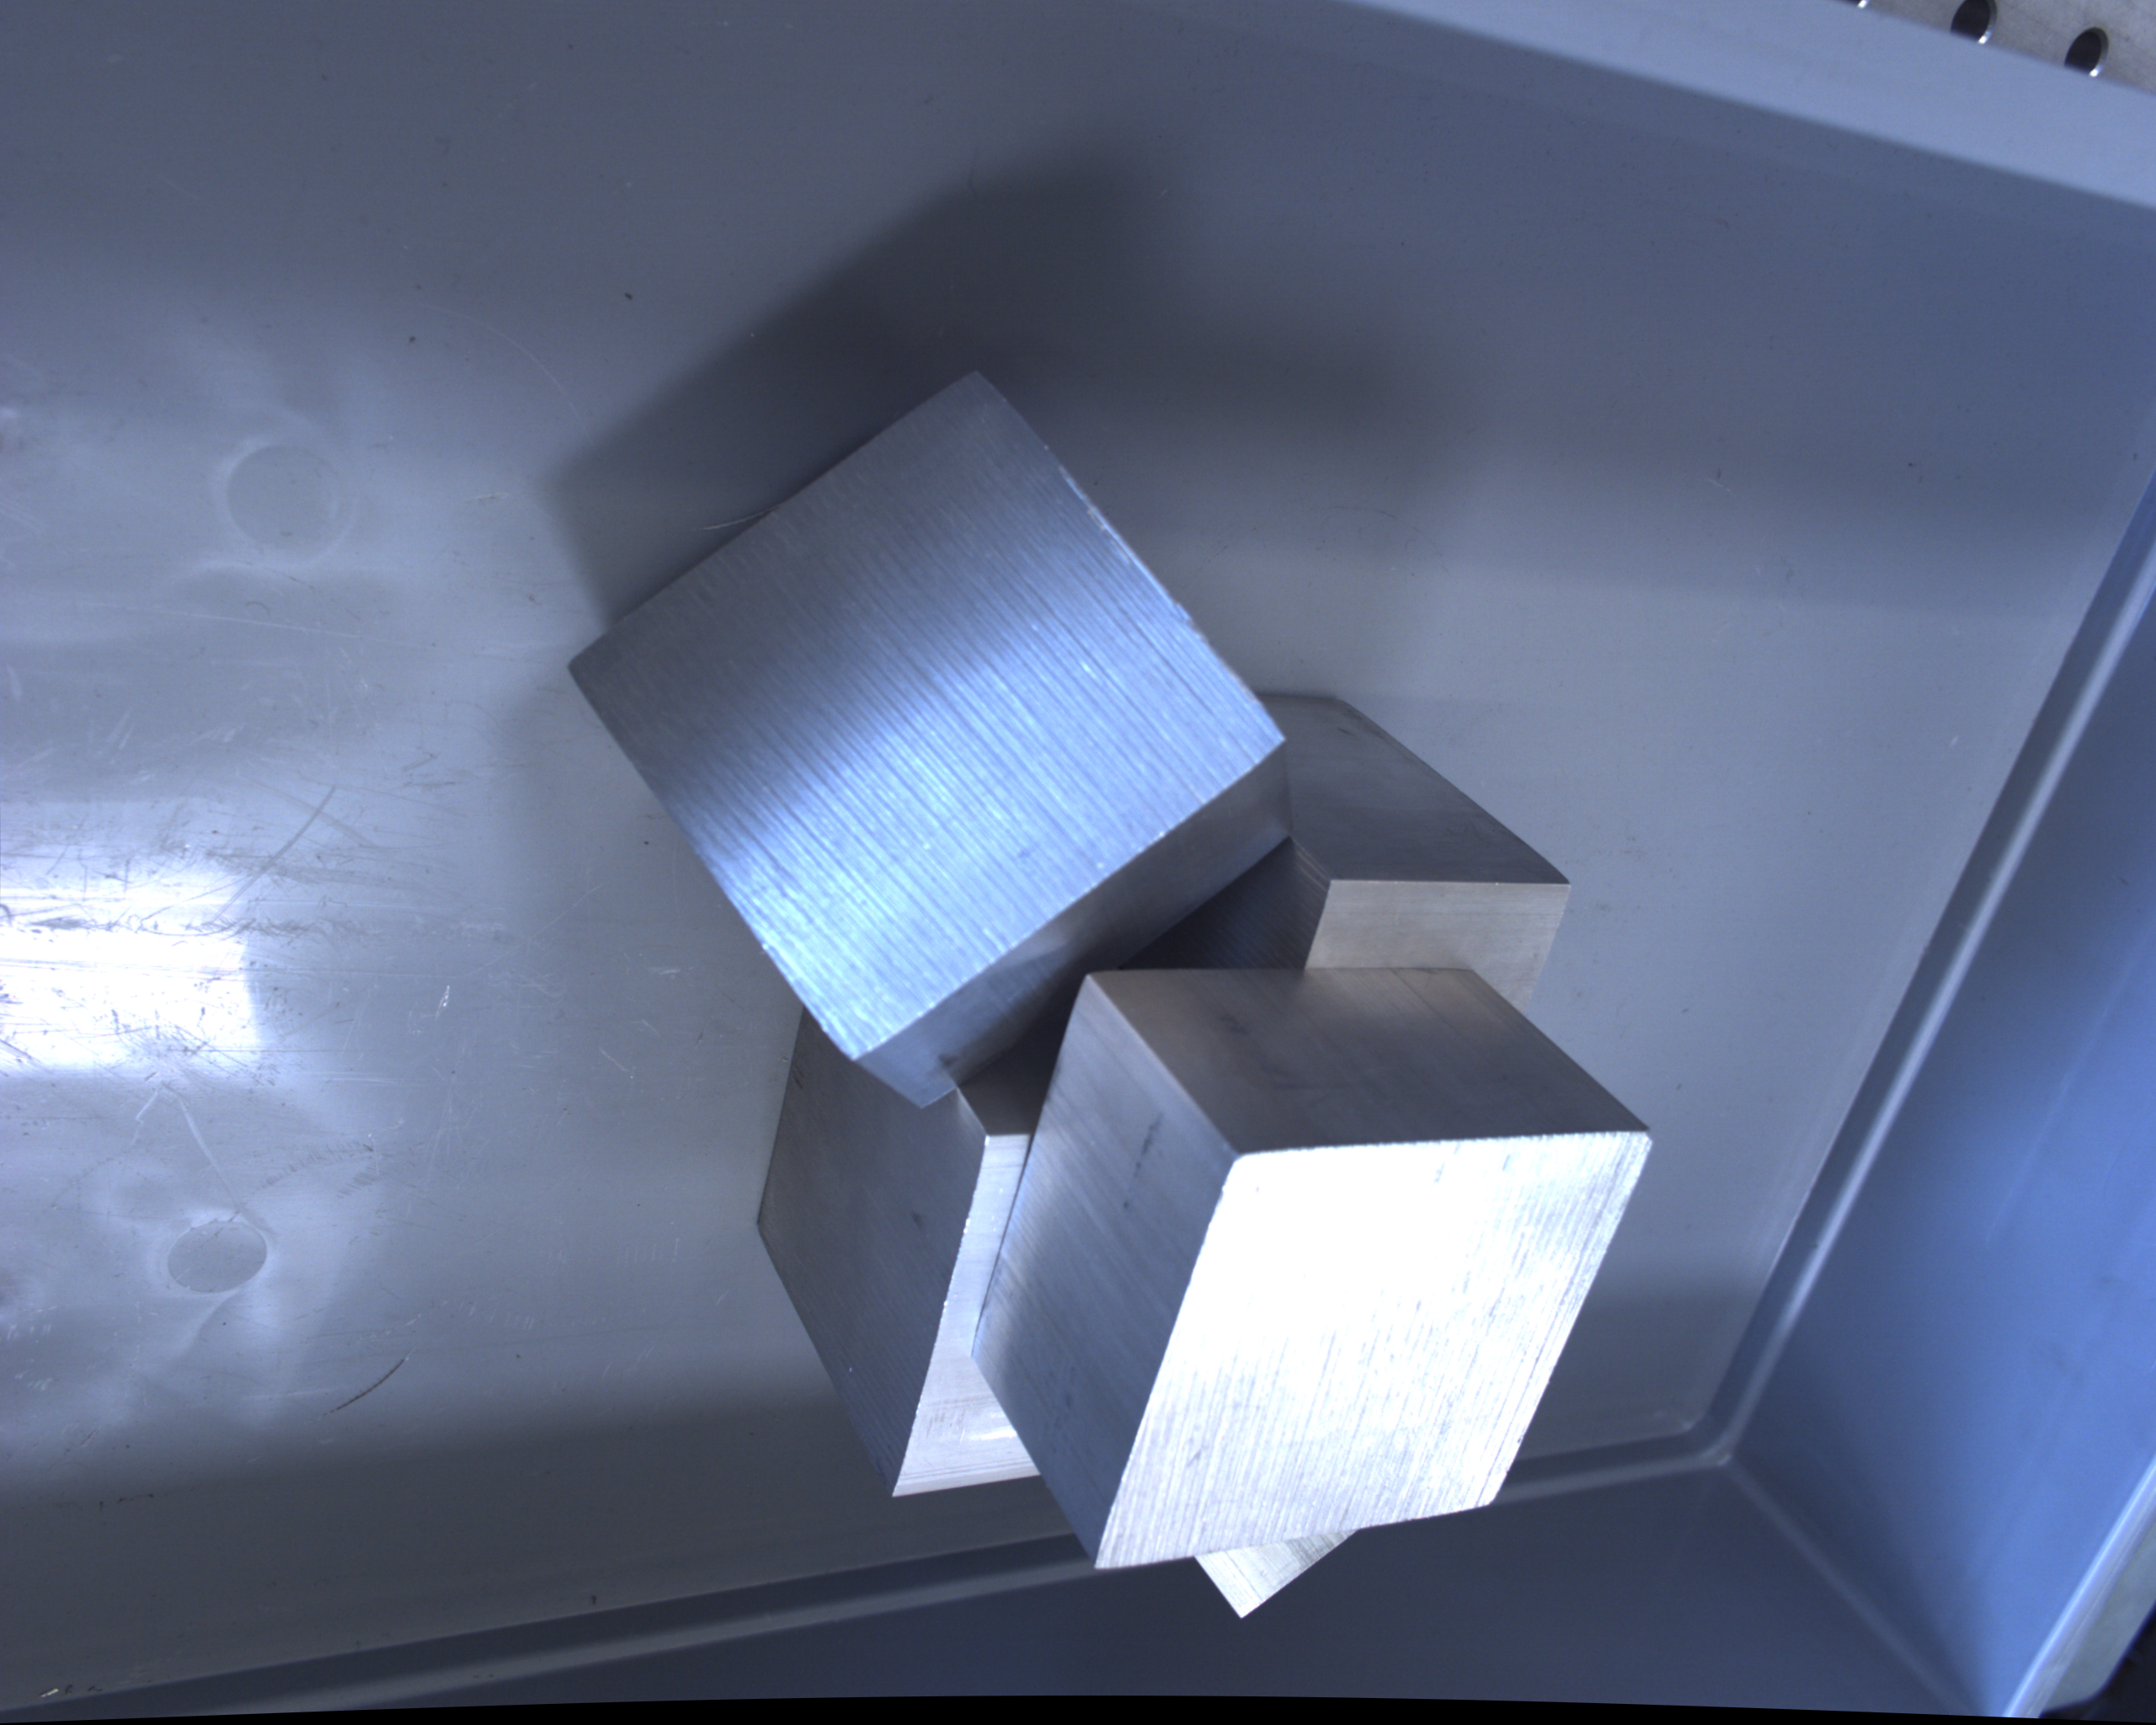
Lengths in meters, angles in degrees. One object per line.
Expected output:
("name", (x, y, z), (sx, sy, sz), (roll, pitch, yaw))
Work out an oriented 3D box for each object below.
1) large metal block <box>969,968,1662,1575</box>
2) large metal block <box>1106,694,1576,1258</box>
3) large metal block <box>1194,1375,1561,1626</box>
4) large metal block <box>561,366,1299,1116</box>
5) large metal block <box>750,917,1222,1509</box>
("large metal block", (0.037, 0.065, 0.346), (0.081, 0.050, 0.079), (2, 118, -29))
("large metal block", (0.039, 0.019, 0.403), (0.050, 0.080, 0.079), (1, 118, -29))
("large metal block", (0.045, 0.106, 0.452), (0.080, 0.080, 0.050), (-36, 94, -5))
("large metal block", (-0.021, -0.018, 0.339), (0.080, 0.080, 0.050), (-37, 164, -4))
("large metal block", (-0.019, 0.062, 0.399), (0.050, 0.080, 0.079), (1, 118, -29))
